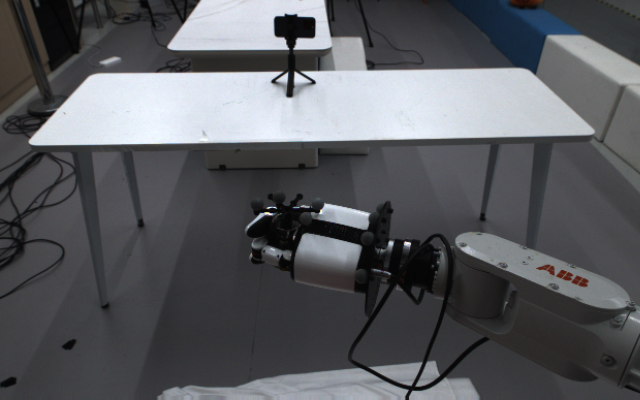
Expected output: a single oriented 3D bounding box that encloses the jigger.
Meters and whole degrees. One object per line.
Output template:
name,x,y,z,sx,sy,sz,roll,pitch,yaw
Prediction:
jigger,-0.043,0.055,0.678,0.043,0.071,0.043,4,31,-2
